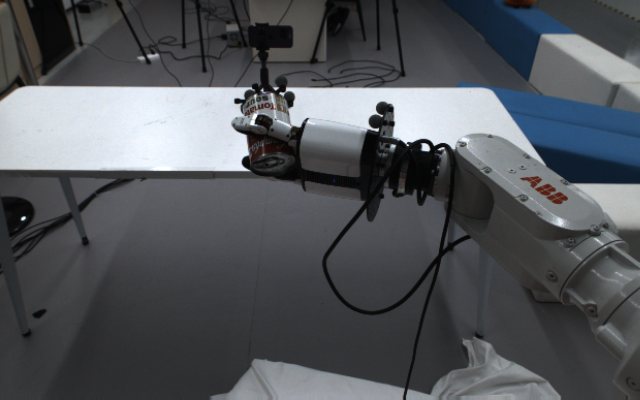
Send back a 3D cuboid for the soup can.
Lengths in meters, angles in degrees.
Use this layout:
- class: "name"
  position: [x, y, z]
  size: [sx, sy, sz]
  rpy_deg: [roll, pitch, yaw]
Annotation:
- class: "soup can"
  position: [-0.072, -0.093, 0.691]
  size: [0.067, 0.067, 0.101]
  rpy_deg: [-6, 67, -12]
